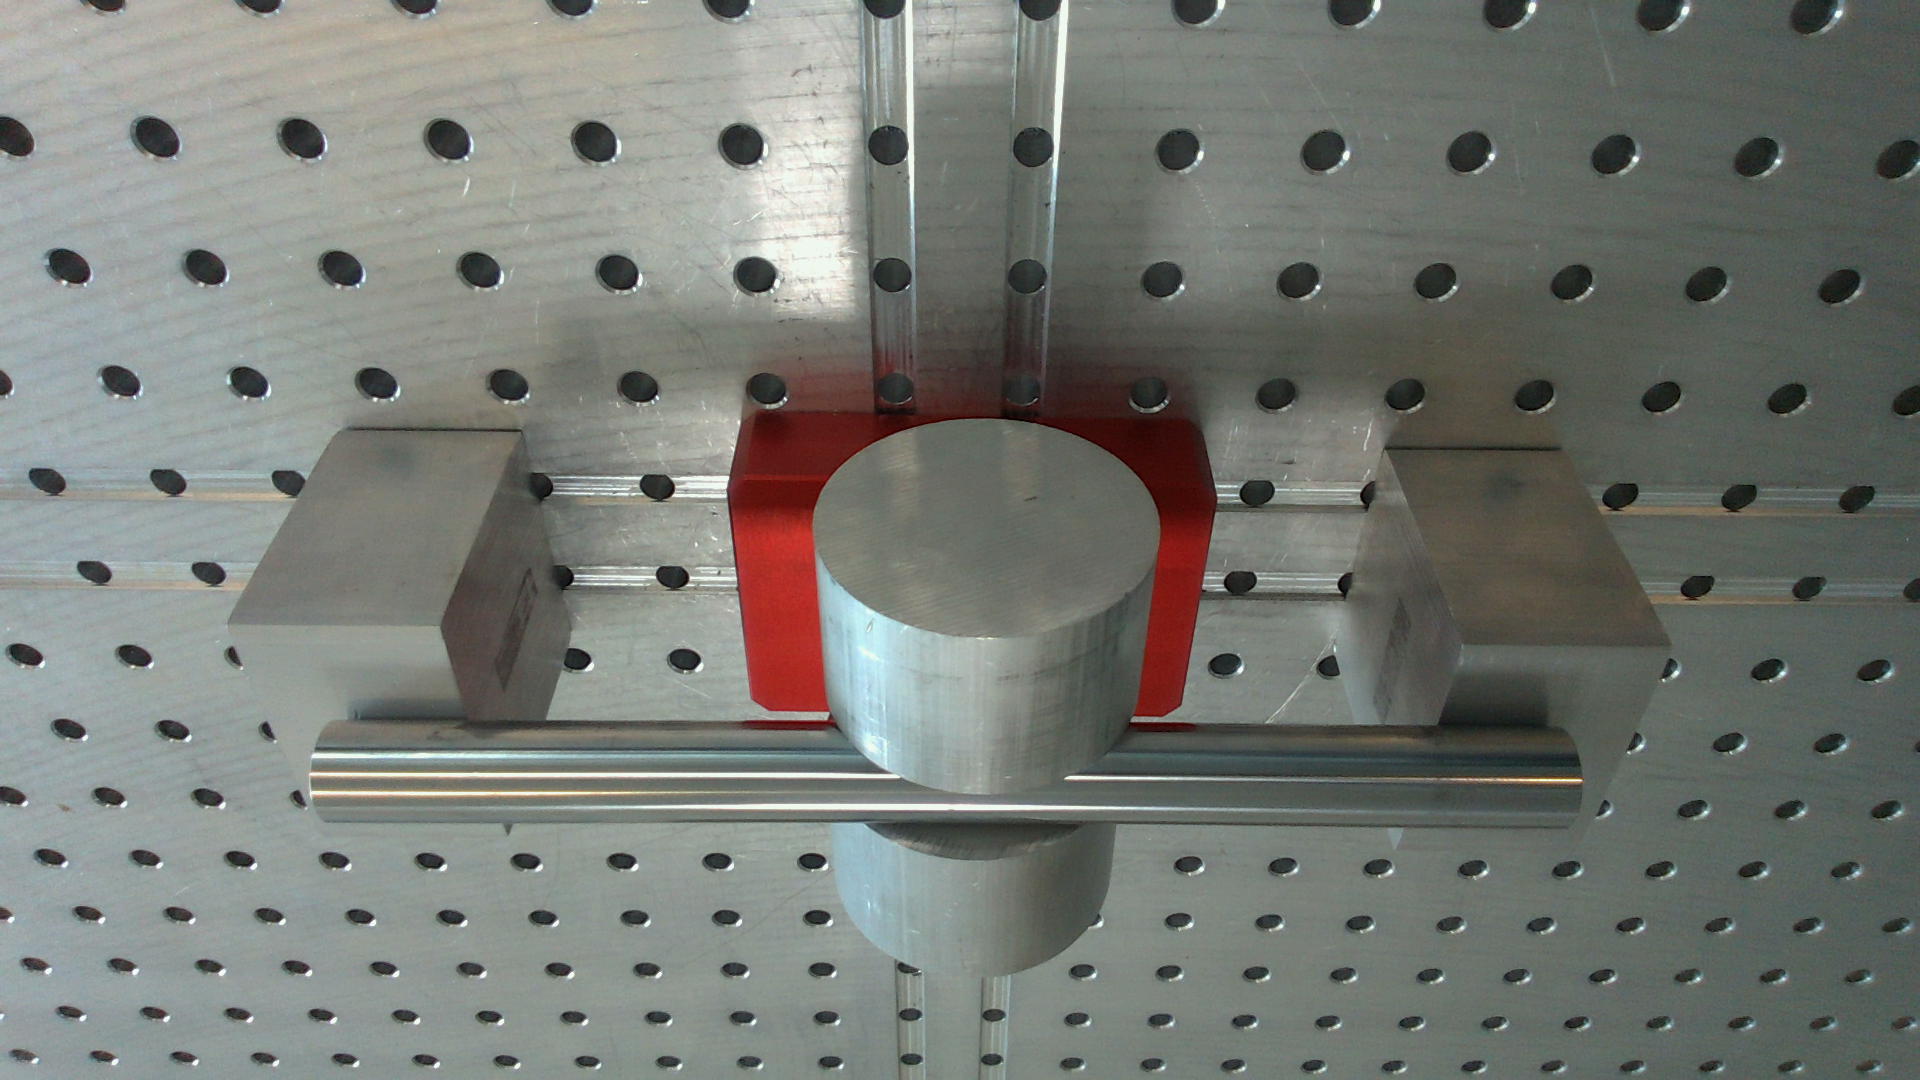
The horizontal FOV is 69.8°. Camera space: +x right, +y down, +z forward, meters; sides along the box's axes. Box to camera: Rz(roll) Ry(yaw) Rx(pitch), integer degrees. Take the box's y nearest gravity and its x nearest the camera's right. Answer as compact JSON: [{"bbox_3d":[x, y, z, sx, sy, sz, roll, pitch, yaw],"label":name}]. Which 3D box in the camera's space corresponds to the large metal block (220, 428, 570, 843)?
[{"bbox_3d":[-0.148,0.026,0.377,0.050,0.080,0.080,0,130,0],"label":"large metal block"}]

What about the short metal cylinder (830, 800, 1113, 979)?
[{"bbox_3d":[0.003,0.071,0.379,0.080,0.080,0.050,1,130,-1],"label":"short metal cylinder"}]

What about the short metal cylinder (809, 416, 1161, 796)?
[{"bbox_3d":[0.006,0.014,0.330,0.080,0.080,0.050,1,130,-1],"label":"short metal cylinder"}]

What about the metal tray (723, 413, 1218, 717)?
[{"bbox_3d":[0.002,0.009,0.398,0.130,0.030,0.090,1,130,-1],"label":"metal tray"}]

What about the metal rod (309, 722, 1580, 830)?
[{"bbox_3d":[-0.003,0.058,0.337,0.300,0.025,0.025,0,130,-1],"label":"metal rod"}]

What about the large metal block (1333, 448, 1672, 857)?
[{"bbox_3d":[0.144,0.031,0.383,0.050,0.080,0.080,0,130,0],"label":"large metal block"}]
